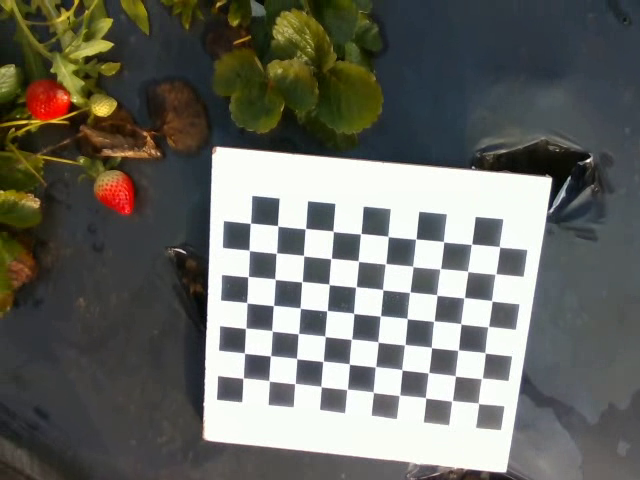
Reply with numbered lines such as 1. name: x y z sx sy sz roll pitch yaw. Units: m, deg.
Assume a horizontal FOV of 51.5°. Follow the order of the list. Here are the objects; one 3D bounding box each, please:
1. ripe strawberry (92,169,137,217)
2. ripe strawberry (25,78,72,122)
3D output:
1. ripe strawberry: -0.174 -0.039 0.547 0.035 0.043 0.030 -32 5 10
2. ripe strawberry: -0.221 -0.115 0.530 0.031 0.040 0.048 -20 16 -41
